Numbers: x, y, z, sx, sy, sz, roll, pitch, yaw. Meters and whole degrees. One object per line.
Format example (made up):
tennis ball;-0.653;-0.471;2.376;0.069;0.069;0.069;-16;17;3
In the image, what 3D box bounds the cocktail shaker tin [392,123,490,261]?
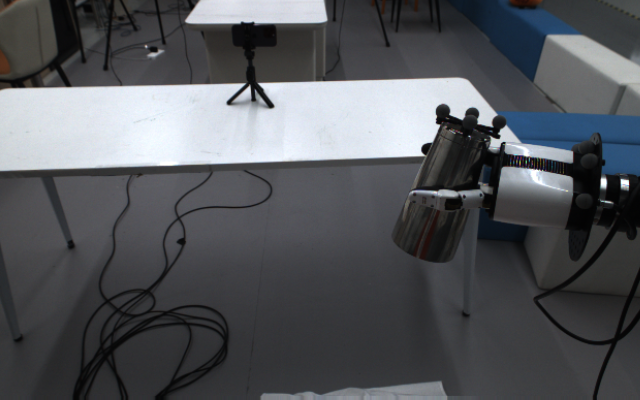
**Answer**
cocktail shaker tin;0.167;-0.015;0.647;0.093;0.170;0.093;12;24;-5
